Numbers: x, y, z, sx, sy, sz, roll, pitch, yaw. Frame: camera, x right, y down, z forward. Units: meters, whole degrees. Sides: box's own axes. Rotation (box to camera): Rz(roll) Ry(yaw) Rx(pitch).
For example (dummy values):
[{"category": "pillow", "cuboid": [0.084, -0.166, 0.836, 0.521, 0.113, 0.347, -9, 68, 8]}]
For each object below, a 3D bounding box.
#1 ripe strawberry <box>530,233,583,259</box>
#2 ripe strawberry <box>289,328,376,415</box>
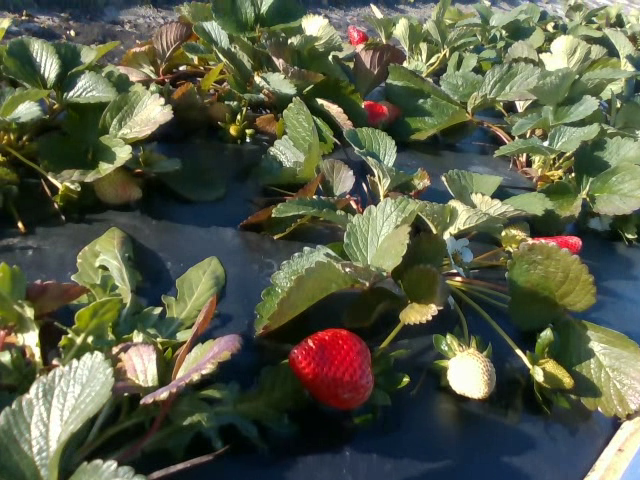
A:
[{"category": "ripe strawberry", "cuboid": [0.152, 0.010, 0.399, 0.045, 0.037, 0.042, -35, 7, 16]}, {"category": "ripe strawberry", "cuboid": [0.002, 0.053, 0.259, 0.036, 0.043, 0.053, -24, -31, 38]}]
